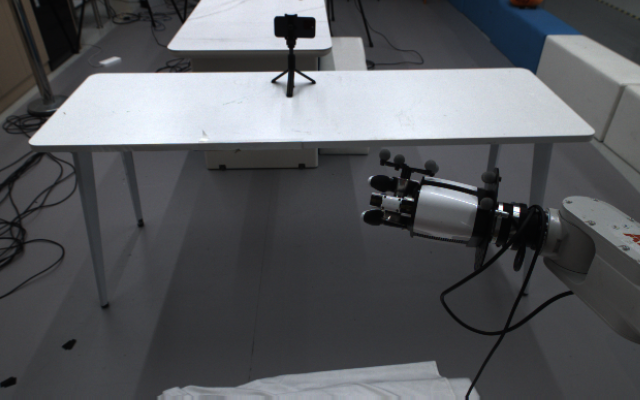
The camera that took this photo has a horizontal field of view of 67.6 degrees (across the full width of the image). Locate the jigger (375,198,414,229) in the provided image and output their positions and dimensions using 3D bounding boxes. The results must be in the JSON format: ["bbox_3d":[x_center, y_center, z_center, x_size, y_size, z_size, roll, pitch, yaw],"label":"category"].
[{"bbox_3d":[0.124,0.000,0.742,0.043,0.071,0.043,14,1,0],"label":"jigger"}]
